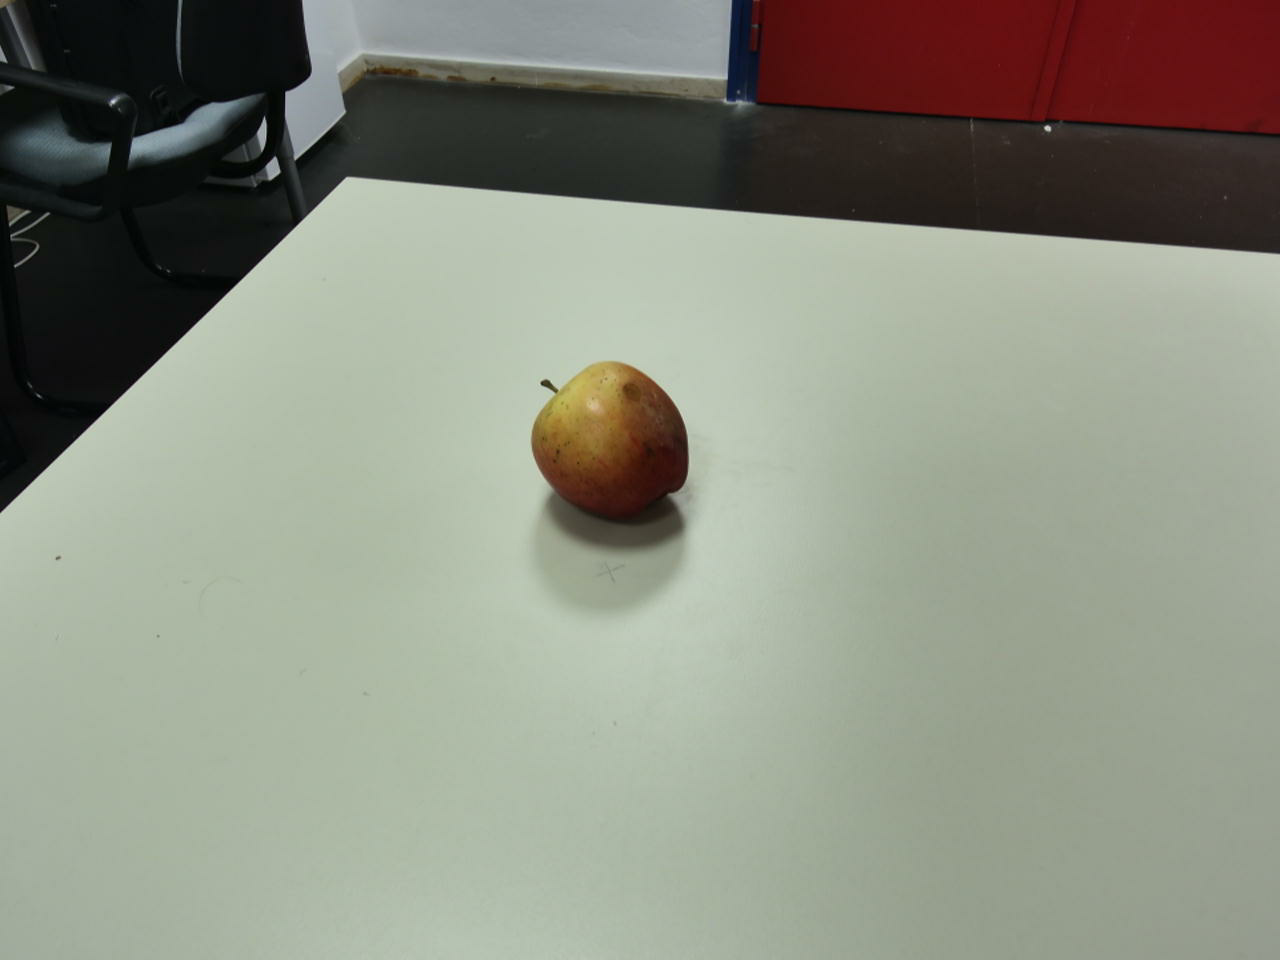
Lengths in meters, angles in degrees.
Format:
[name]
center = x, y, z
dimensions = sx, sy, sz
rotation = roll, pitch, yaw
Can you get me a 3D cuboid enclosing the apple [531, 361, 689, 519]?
[apple]
center = -0.018, -0.023, 0.575
dimensions = 0.086, 0.084, 0.093
rotation = -17, 41, -18
